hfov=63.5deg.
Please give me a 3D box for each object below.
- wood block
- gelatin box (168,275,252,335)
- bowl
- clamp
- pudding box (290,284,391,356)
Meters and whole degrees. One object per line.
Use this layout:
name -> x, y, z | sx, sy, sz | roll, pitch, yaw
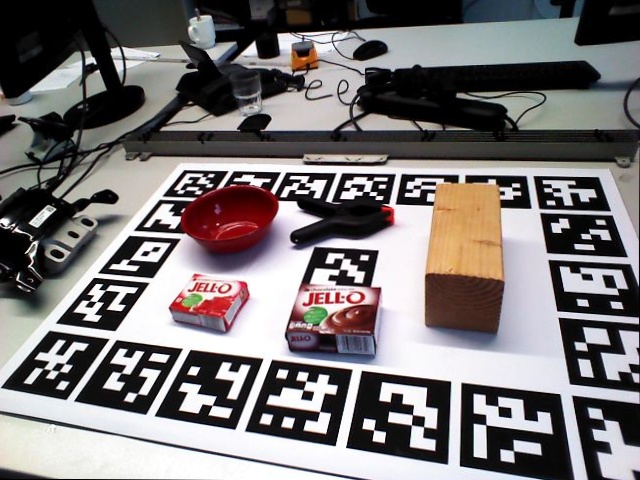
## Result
wood block -> 0.204, 0.012, 0.680 | 0.090, 0.091, 0.205 | 5, 40, 16
gelatin box -> -0.150, 0.087, 0.710 | 0.090, 0.030, 0.073 | 7, 42, 21
bowl -> -0.137, -0.023, 0.841 | 0.162, 0.055, 0.161 | -6, 40, 4
clamp -> 0.031, -0.034, 0.837 | 0.165, 0.037, 0.121 | -3, 37, 5
pudding box -> 0.028, 0.099, 0.650 | 0.114, 0.039, 0.089 | 0, 42, 16
